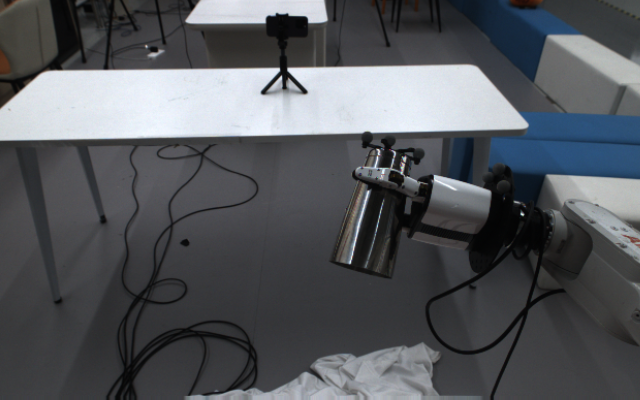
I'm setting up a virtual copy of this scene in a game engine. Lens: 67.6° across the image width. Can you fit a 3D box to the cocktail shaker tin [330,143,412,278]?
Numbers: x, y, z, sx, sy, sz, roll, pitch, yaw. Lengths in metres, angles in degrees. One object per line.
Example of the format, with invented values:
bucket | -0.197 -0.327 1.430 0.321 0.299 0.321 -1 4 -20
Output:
cocktail shaker tin | 0.082 0.015 0.691 0.093 0.093 0.170 13 79 15
